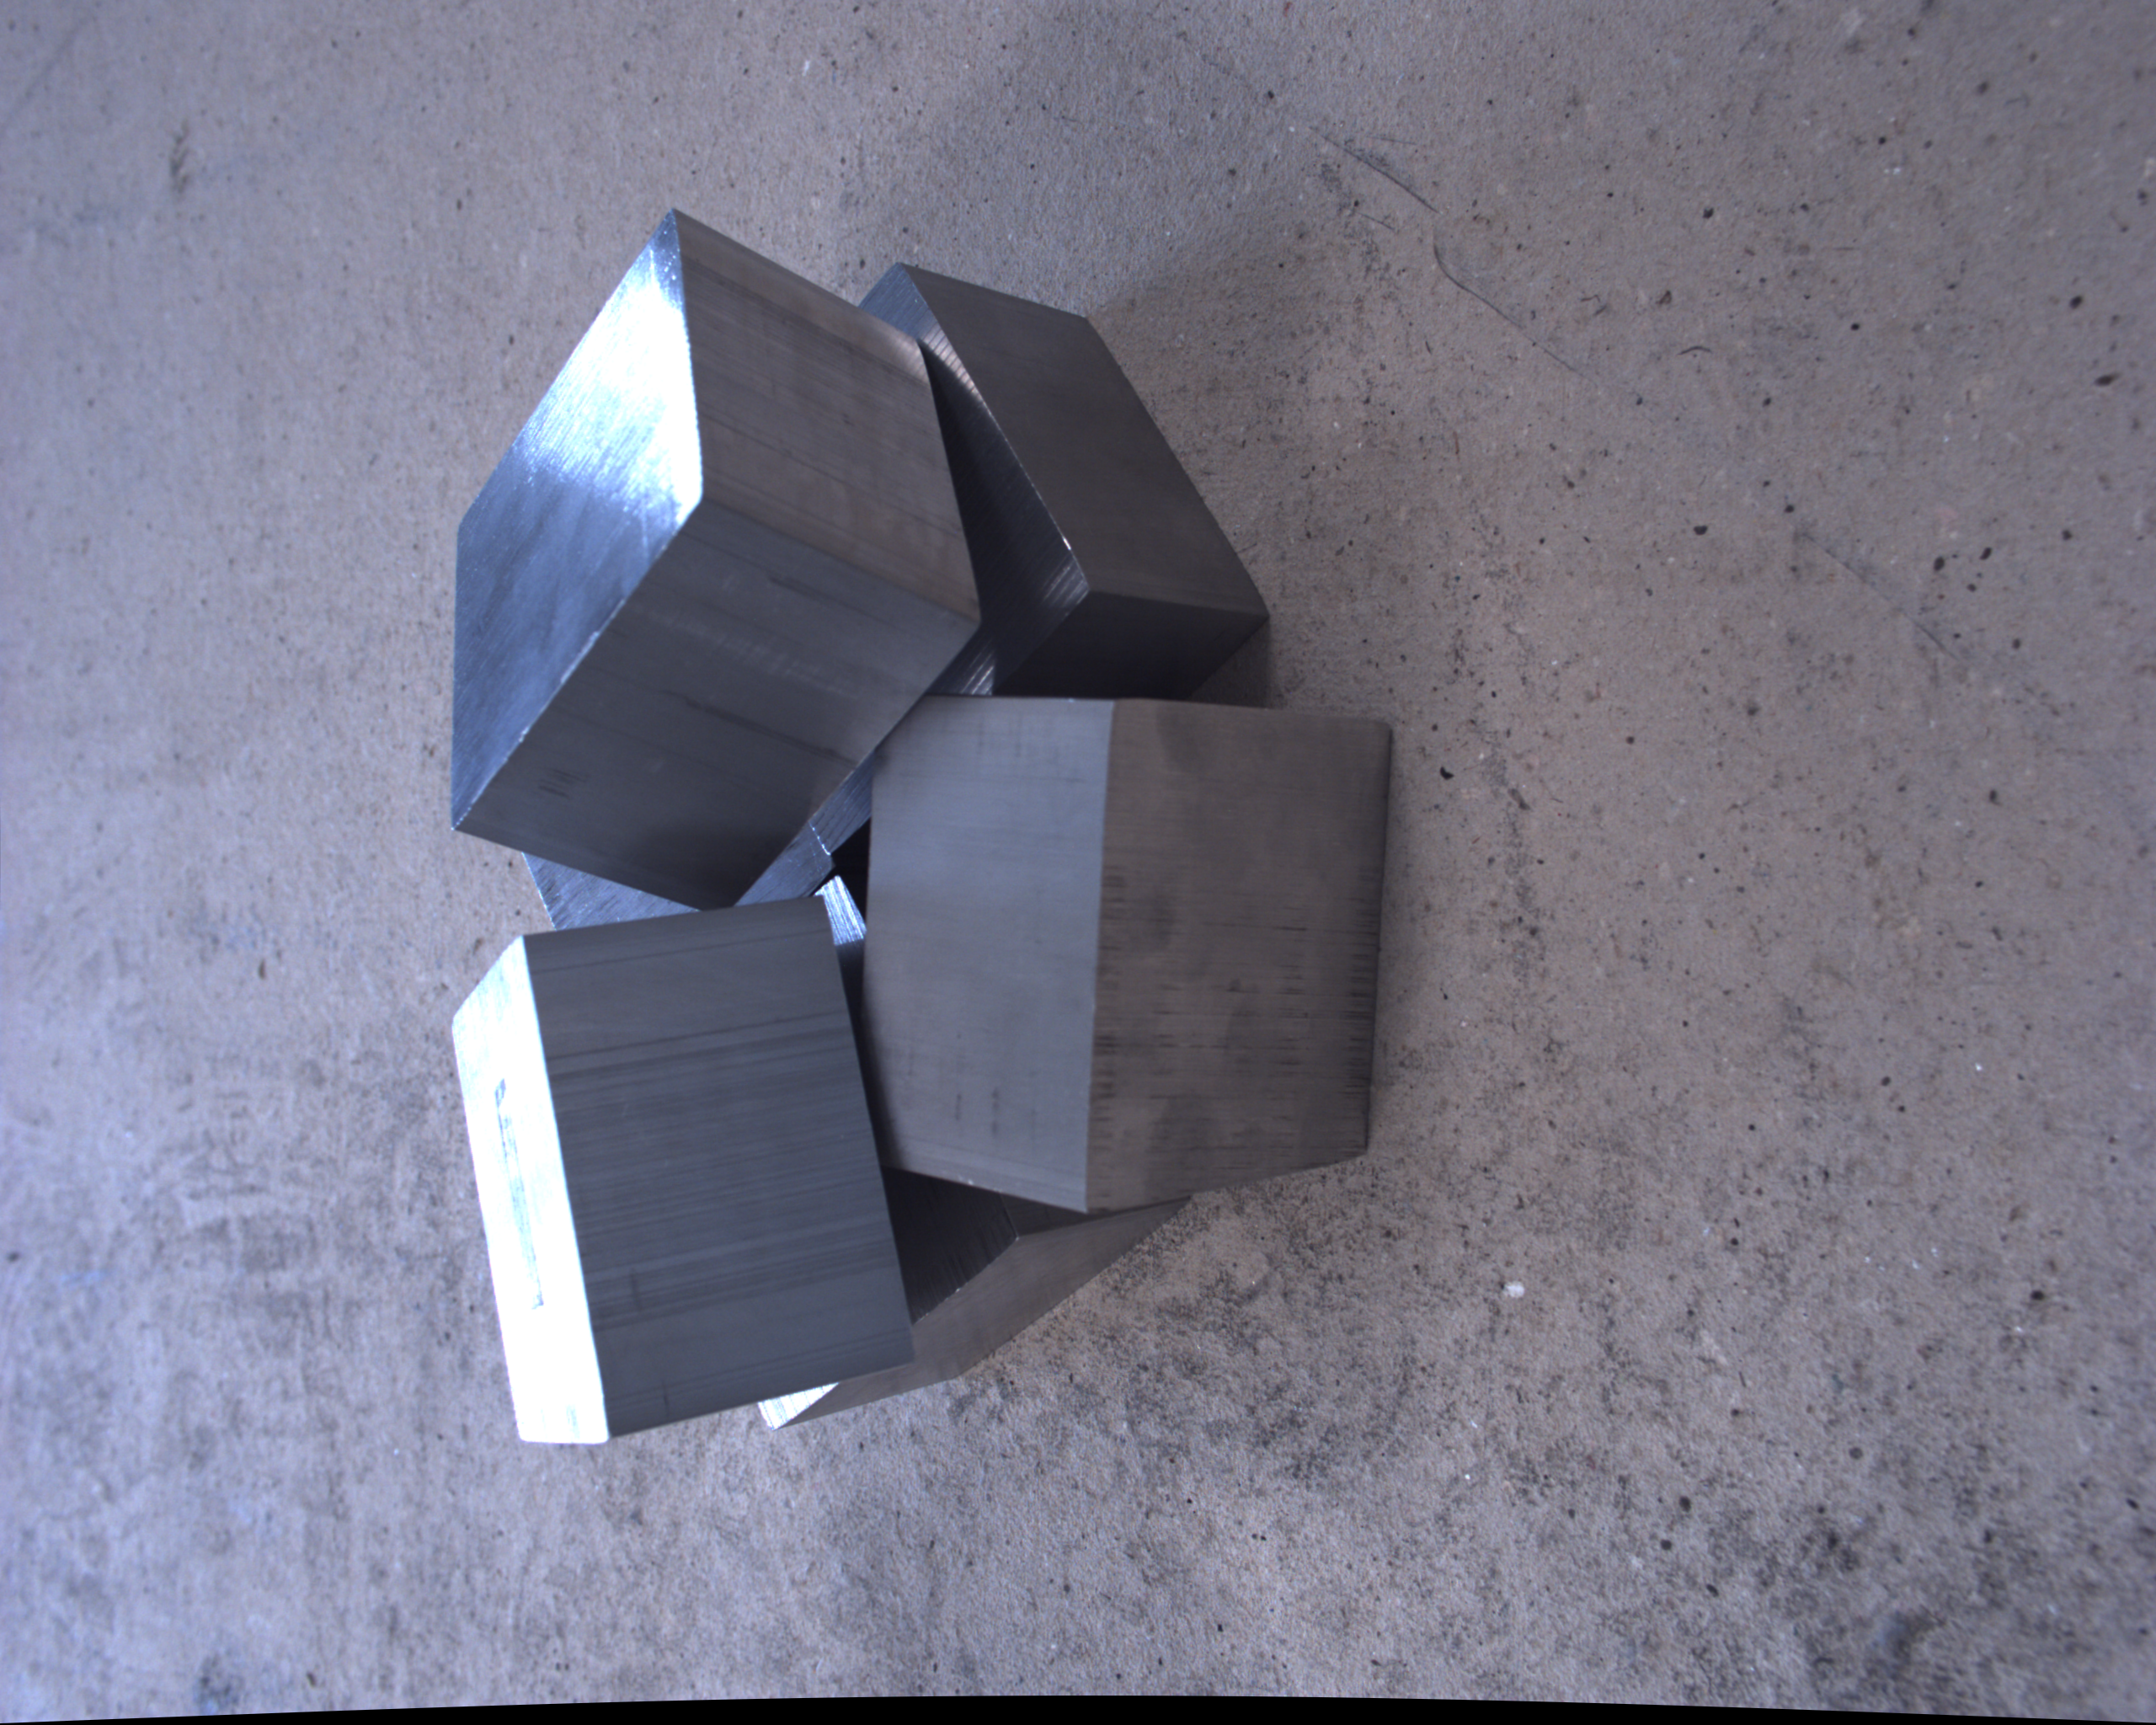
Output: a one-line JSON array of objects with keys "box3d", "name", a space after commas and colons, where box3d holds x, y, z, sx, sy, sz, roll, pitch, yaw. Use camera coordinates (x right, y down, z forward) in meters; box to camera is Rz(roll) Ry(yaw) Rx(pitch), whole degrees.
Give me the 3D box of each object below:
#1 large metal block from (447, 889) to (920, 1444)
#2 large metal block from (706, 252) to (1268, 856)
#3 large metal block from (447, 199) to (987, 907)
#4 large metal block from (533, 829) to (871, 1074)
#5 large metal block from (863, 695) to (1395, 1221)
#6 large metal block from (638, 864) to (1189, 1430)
[{"box3d": [-0.073, 0.056, 0.366, 0.080, 0.050, 0.080, -32, 69, 62], "name": "large metal block"}, {"box3d": [-0.024, -0.056, 0.408, 0.080, 0.050, 0.080, -42, 64, 30], "name": "large metal block"}, {"box3d": [-0.065, -0.051, 0.358, 0.080, 0.050, 0.080, -44, 40, 30], "name": "large metal block"}, {"box3d": [-0.072, -0.009, 0.451, 0.080, 0.050, 0.080, -43, 65, 31], "name": "large metal block"}, {"box3d": [0.010, 0.013, 0.363, 0.050, 0.081, 0.079, 5, 93, 40], "name": "large metal block"}, {"box3d": [-0.036, 0.056, 0.421, 0.080, 0.050, 0.080, -43, 64, 31], "name": "large metal block"}]
